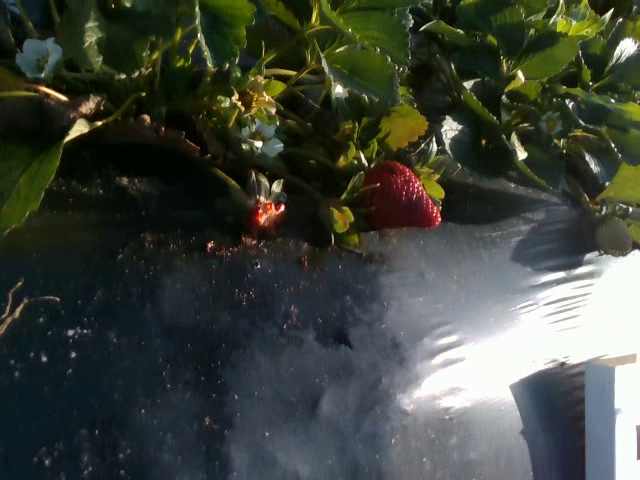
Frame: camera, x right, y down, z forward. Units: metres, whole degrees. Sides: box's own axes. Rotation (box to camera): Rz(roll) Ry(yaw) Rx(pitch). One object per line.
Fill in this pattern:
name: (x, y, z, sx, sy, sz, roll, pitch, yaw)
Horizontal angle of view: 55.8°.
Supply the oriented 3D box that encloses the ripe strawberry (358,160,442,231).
ripe strawberry: (0.050, -0.022, 0.346, 0.052, 0.041, 0.051, -34, 47, -28)
